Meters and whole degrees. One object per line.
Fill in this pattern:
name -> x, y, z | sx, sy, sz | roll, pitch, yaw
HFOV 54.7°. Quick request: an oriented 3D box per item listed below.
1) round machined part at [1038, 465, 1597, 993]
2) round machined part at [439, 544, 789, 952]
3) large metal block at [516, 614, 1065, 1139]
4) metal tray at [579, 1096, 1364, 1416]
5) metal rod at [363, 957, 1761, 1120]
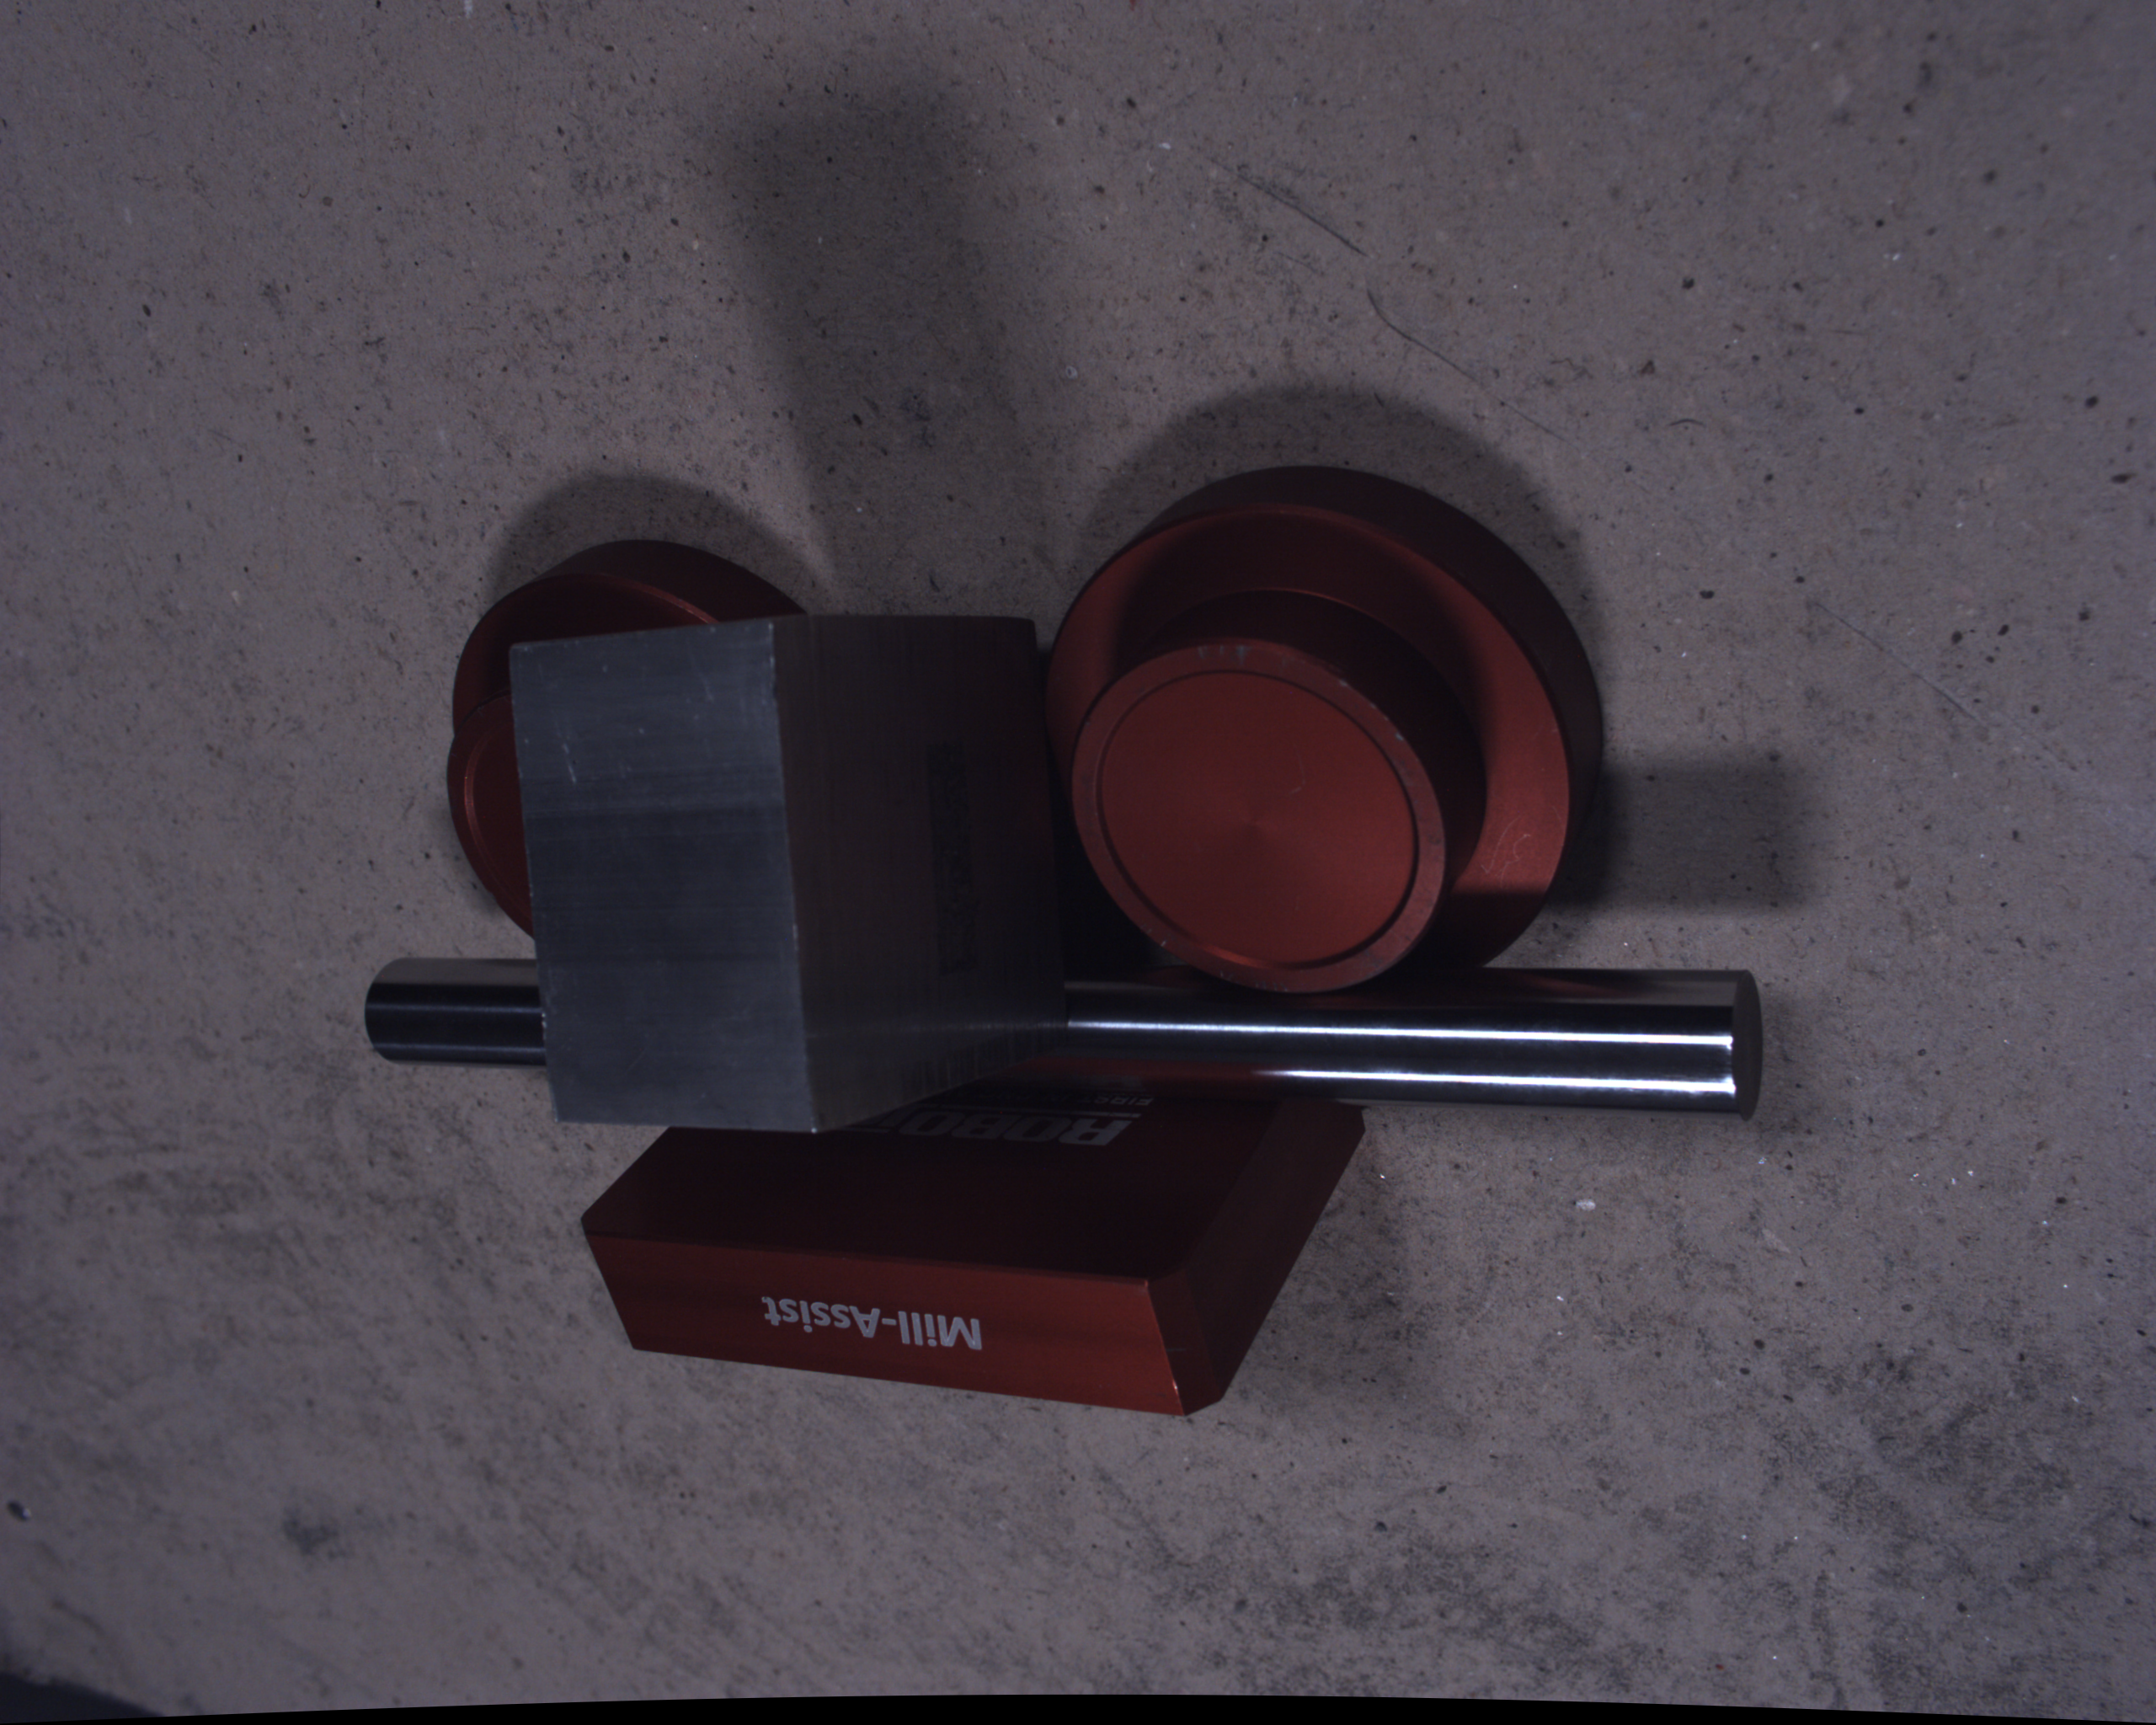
round machined part -> 0.037, -0.016, 0.366 | 0.098, 0.042, 0.097 | 13, 124, 20
round machined part -> -0.092, -0.013, 0.433 | 0.098, 0.042, 0.097 | 13, 124, 20
large metal block -> -0.046, 0.000, 0.361 | 0.050, 0.080, 0.079 | -2, 94, 28
metal tray -> -0.020, 0.062, 0.413 | 0.130, 0.090, 0.030 | -1, 118, 28
metal rod -> -0.023, 0.032, 0.412 | 0.300, 0.025, 0.025 | -1, 118, 28
